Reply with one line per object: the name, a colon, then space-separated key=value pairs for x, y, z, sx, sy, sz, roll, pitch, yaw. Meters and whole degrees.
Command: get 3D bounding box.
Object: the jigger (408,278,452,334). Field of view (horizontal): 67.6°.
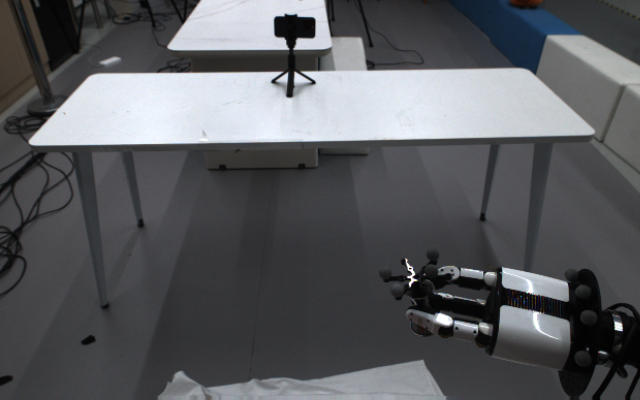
jigger: x=0.140 y=0.144 z=0.656 sx=0.043 sy=0.071 sz=0.043 roll=-12 pitch=29 yaw=7
